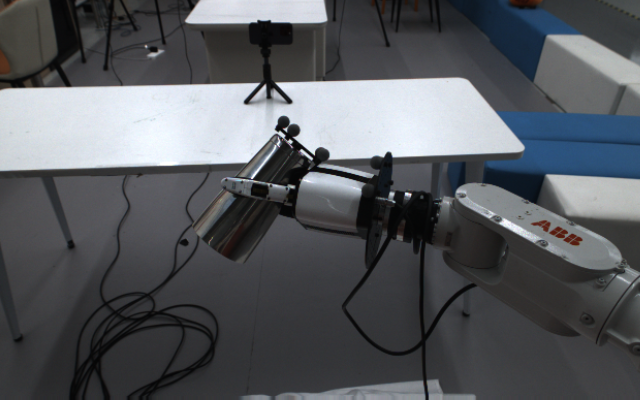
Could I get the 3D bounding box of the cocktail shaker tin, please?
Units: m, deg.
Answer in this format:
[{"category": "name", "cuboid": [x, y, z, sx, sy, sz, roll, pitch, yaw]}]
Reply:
[{"category": "cocktail shaker tin", "cuboid": [-0.088, -0.009, 0.679, 0.170, 0.093, 0.093, -50, 46, 4]}]
